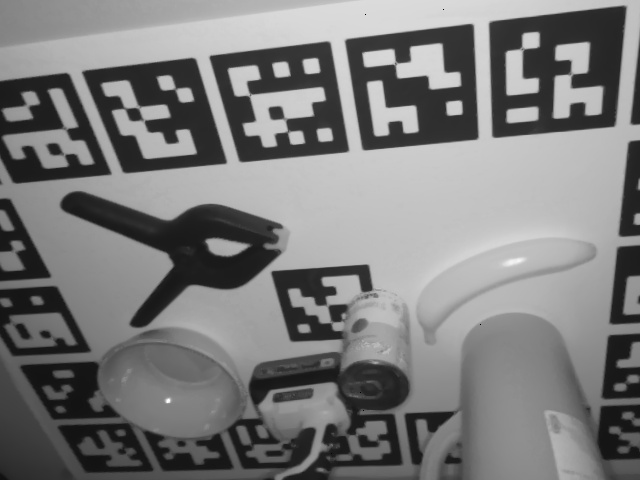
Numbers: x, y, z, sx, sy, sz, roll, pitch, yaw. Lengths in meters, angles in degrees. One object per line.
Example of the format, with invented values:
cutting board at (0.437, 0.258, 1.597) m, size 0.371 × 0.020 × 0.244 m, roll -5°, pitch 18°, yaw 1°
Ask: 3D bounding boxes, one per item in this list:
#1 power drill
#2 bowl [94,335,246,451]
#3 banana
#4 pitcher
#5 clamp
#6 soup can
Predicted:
power drill at (-0.048, 0.244, 0.705) m, size 0.183 × 0.189 × 0.057 m, roll -8°, pitch 123°, yaw 11°
bowl at (-0.157, 0.156, 0.756) m, size 0.161 × 0.056 × 0.160 m, roll 2°, pitch 123°, yaw 3°
banana at (0.177, 0.052, 0.671) m, size 0.195 × 0.039 × 0.074 m, roll -26°, pitch 127°, yaw 23°
pitcher at (0.181, 0.203, 0.647) m, size 0.187 × 0.245 × 0.133 m, roll -25°, pitch 122°, yaw 21°
clamp at (-0.121, 0.021, 0.664) m, size 0.202 × 0.037 × 0.164 m, roll -6°, pitch 120°, yaw 9°
soup can at (0.059, 0.120, 0.688) m, size 0.068 × 0.103 × 0.067 m, roll 2°, pitch 133°, yaw 3°
